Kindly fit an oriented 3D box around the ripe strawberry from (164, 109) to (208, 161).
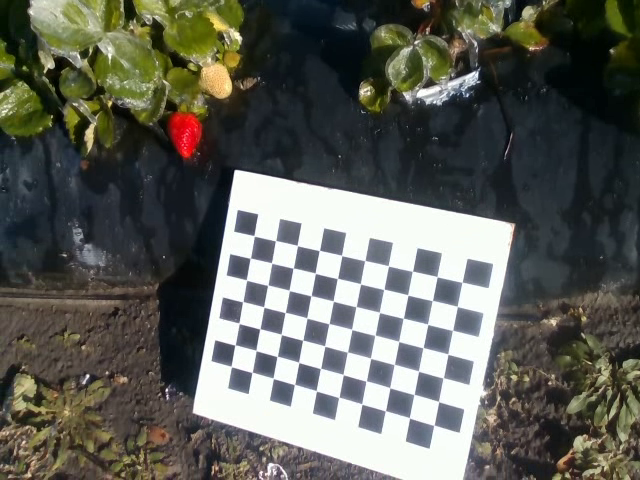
[{"bbox_3d":[-0.147,-0.112,0.616,0.041,0.052,0.040,-6,-6,13],"label":"ripe strawberry"}]
